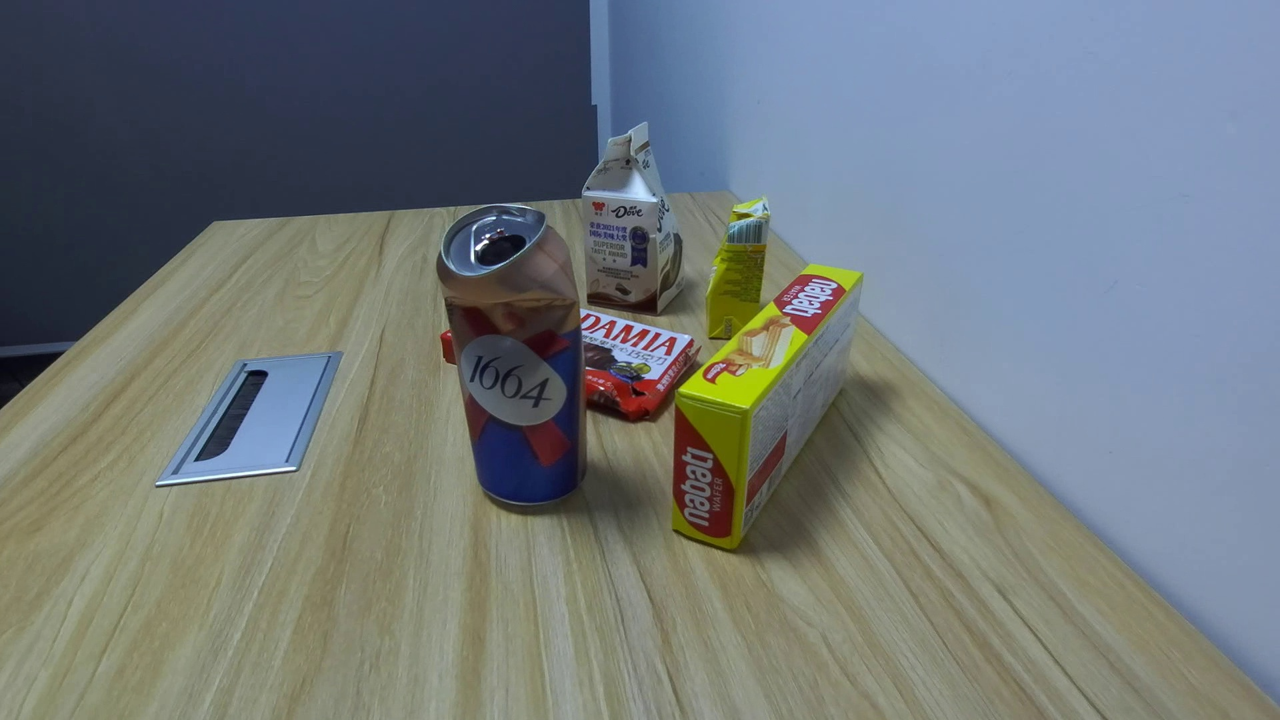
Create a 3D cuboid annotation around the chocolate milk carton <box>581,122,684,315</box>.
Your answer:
[{"bbox_3d":[-0.003,-0.128,0.633,0.073,0.155,0.084,11,30,20],"label":"chocolate milk carton"}]

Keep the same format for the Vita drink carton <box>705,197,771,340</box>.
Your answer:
[{"bbox_3d":[0.079,-0.072,0.586,0.046,0.109,0.071,4,14,4],"label":"Vita drink carton"}]

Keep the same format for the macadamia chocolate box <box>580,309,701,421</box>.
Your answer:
[{"bbox_3d":[-0.053,-0.006,0.547,0.186,0.027,0.103,15,36,25],"label":"macadamia chocolate box"}]

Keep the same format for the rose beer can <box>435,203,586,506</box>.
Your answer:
[{"bbox_3d":[-0.067,0.002,0.391,0.069,0.168,0.069,-10,33,-11],"label":"rose beer can"}]

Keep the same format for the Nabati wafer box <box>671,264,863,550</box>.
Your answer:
[{"bbox_3d":[0.084,0.017,0.433,0.042,0.093,0.203,16,33,26],"label":"Nabati wafer box"}]
